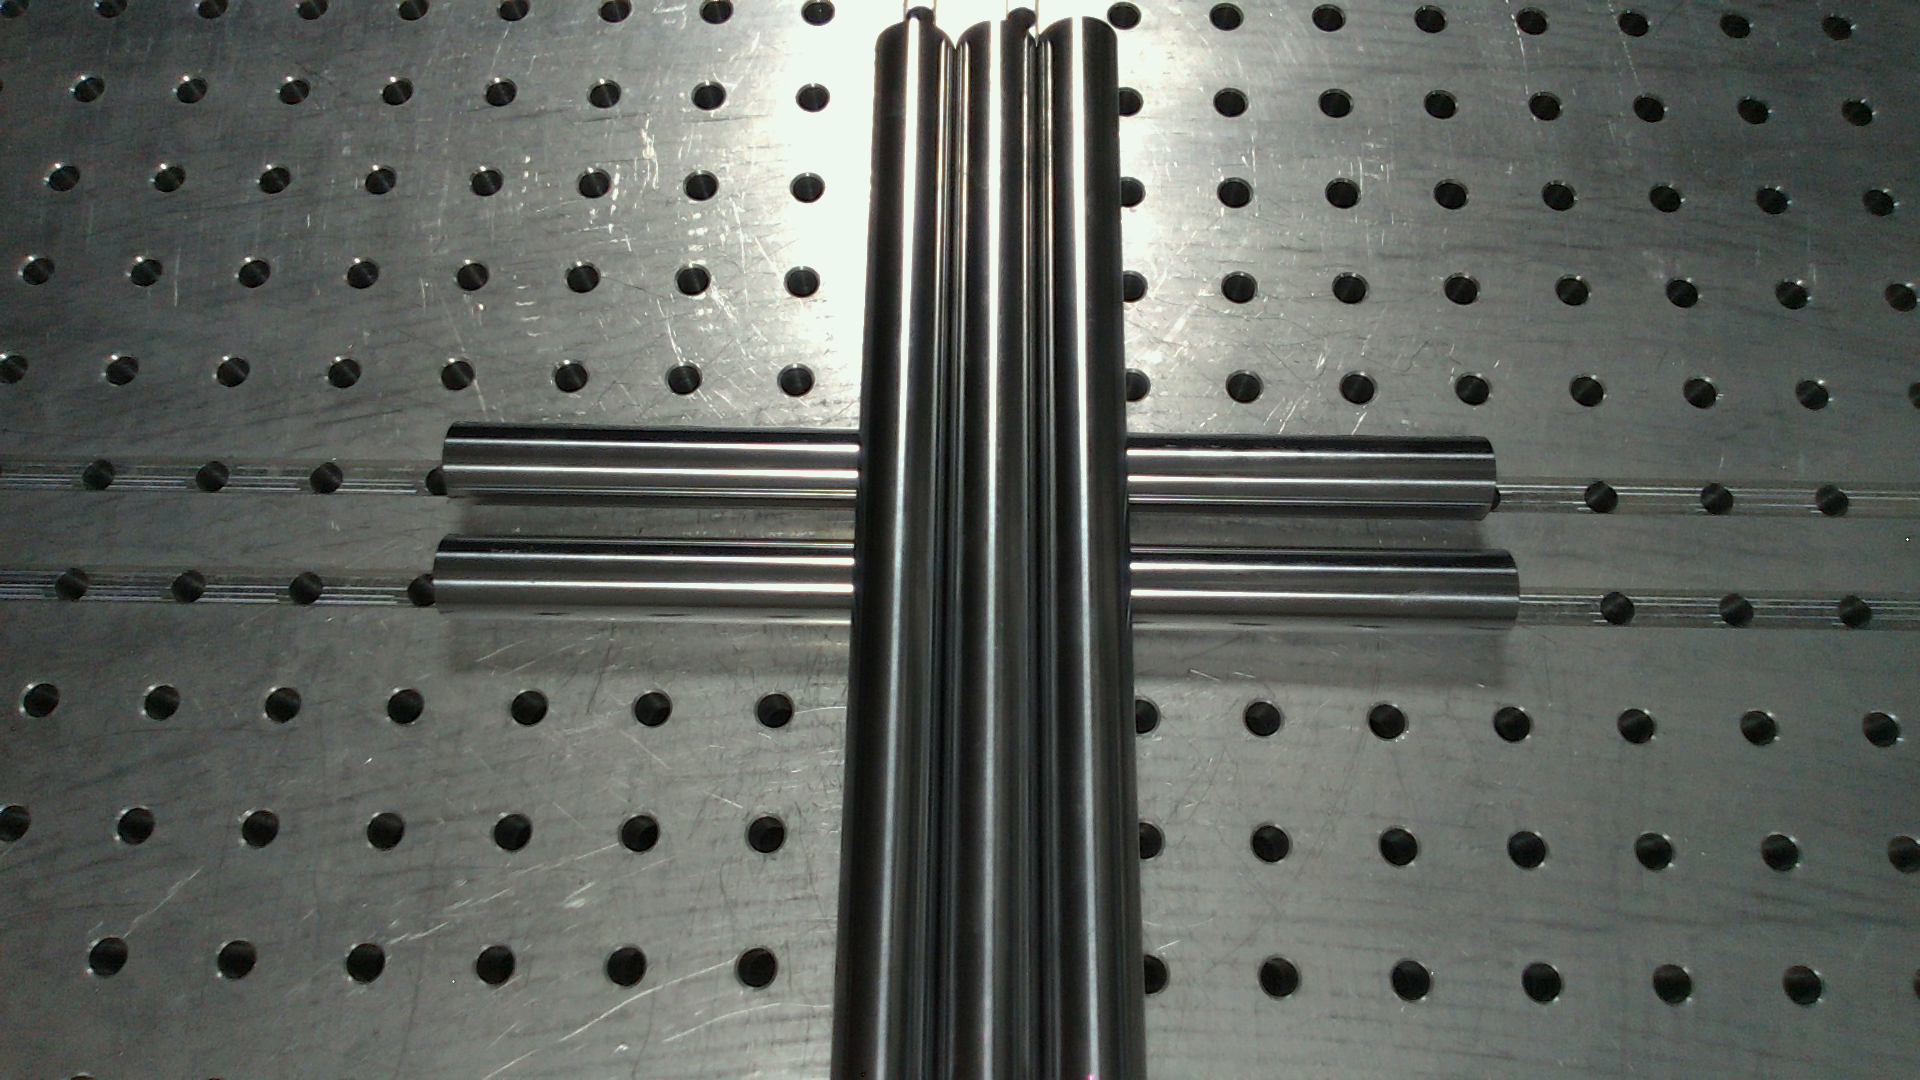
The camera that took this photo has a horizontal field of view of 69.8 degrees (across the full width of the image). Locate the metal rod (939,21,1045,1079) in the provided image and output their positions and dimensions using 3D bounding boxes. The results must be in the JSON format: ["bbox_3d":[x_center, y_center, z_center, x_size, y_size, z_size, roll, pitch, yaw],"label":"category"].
[{"bbox_3d":[0.009,-0.011,0.375,0.025,0.025,0.300,1,70,0],"label":"metal rod"}]

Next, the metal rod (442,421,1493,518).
[{"bbox_3d":[0.002,-0.021,0.405,0.300,0.025,0.025,1,70,0],"label":"metal rod"}]

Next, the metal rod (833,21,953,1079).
[{"bbox_3d":[-0.016,-0.011,0.375,0.025,0.025,0.300,1,70,0],"label":"metal rod"}]

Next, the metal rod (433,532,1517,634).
[{"bbox_3d":[0.004,0.012,0.393,0.300,0.025,0.025,1,70,0],"label":"metal rod"}]

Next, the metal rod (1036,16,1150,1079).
[{"bbox_3d":[0.034,-0.013,0.376,0.025,0.025,0.300,1,70,0],"label":"metal rod"}]
